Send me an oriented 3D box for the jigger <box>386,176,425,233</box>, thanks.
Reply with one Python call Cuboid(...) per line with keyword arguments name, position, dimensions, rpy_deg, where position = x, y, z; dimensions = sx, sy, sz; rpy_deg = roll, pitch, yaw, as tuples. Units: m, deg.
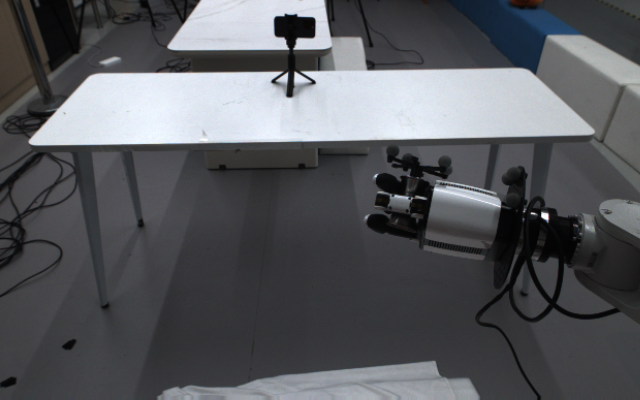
Cuboid(name="jigger", position=(0.121, 0.005, 0.648), dimensions=(0.043, 0.071, 0.043), rpy_deg=(16, -7, 2))
